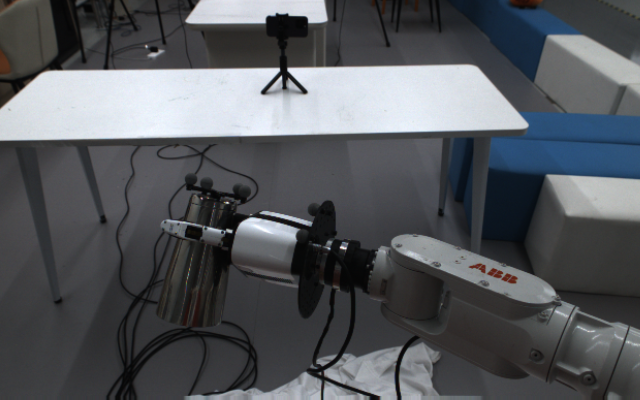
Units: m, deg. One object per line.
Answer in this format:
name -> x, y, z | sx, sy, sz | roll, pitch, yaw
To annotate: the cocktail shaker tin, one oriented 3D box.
cocktail shaker tin -> -0.163, 0.078, 0.678 | 0.093, 0.170, 0.093 | 12, 1, 0
